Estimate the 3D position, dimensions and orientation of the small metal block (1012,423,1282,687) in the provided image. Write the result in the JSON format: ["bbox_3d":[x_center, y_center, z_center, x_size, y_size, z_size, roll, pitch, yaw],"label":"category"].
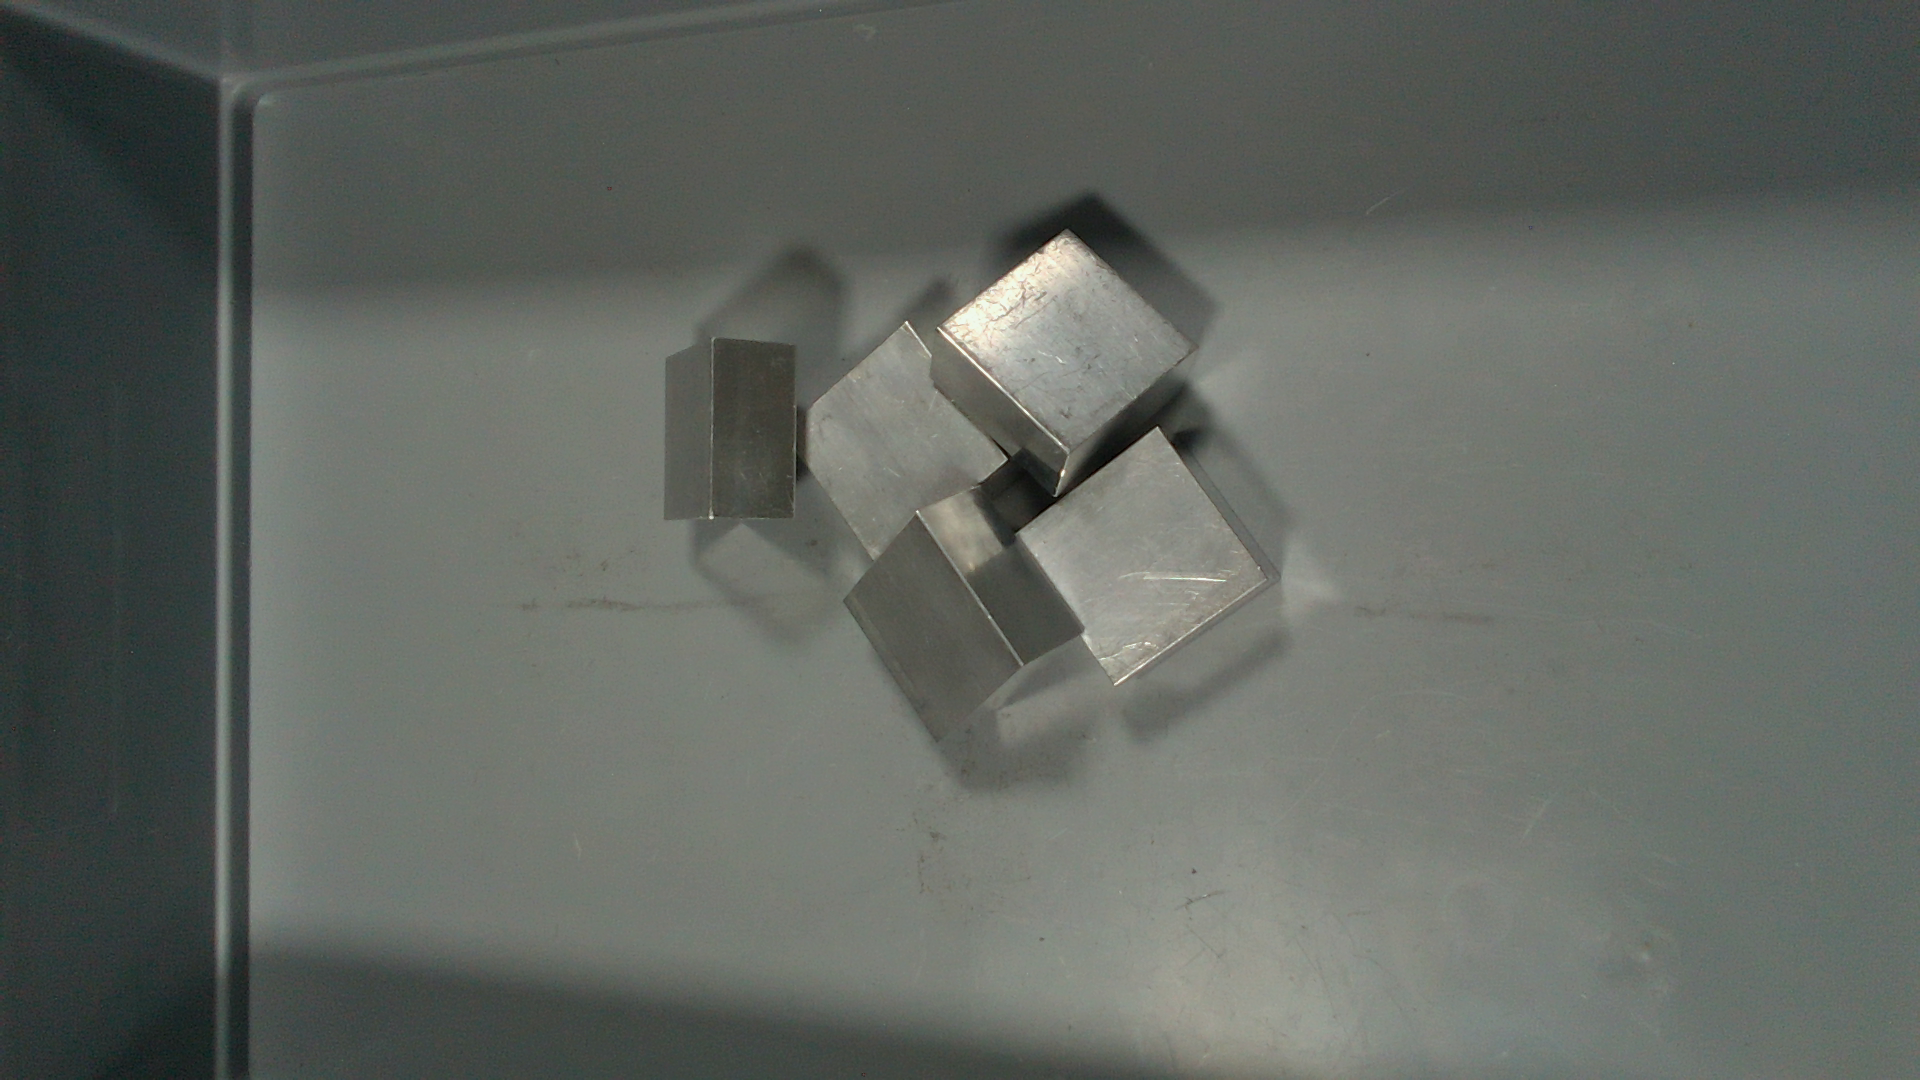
[{"bbox_3d":[0.051,0.004,0.376,0.050,0.025,0.050,-38,78,16],"label":"small metal block"}]

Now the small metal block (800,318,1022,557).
[{"bbox_3d":[-0.015,-0.027,0.400,0.050,0.025,0.050,-39,78,16],"label":"small metal block"}]

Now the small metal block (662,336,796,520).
[{"bbox_3d":[-0.069,-0.031,0.405,0.050,0.025,0.050,0,90,64],"label":"small metal block"}]

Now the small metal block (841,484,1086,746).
[{"bbox_3d":[0.000,0.021,0.382,0.050,0.025,0.050,55,138,12],"label":"small metal block"}]

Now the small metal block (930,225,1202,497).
[{"bbox_3d":[0.028,-0.049,0.372,0.050,0.025,0.050,-40,75,-20],"label":"small metal block"}]
